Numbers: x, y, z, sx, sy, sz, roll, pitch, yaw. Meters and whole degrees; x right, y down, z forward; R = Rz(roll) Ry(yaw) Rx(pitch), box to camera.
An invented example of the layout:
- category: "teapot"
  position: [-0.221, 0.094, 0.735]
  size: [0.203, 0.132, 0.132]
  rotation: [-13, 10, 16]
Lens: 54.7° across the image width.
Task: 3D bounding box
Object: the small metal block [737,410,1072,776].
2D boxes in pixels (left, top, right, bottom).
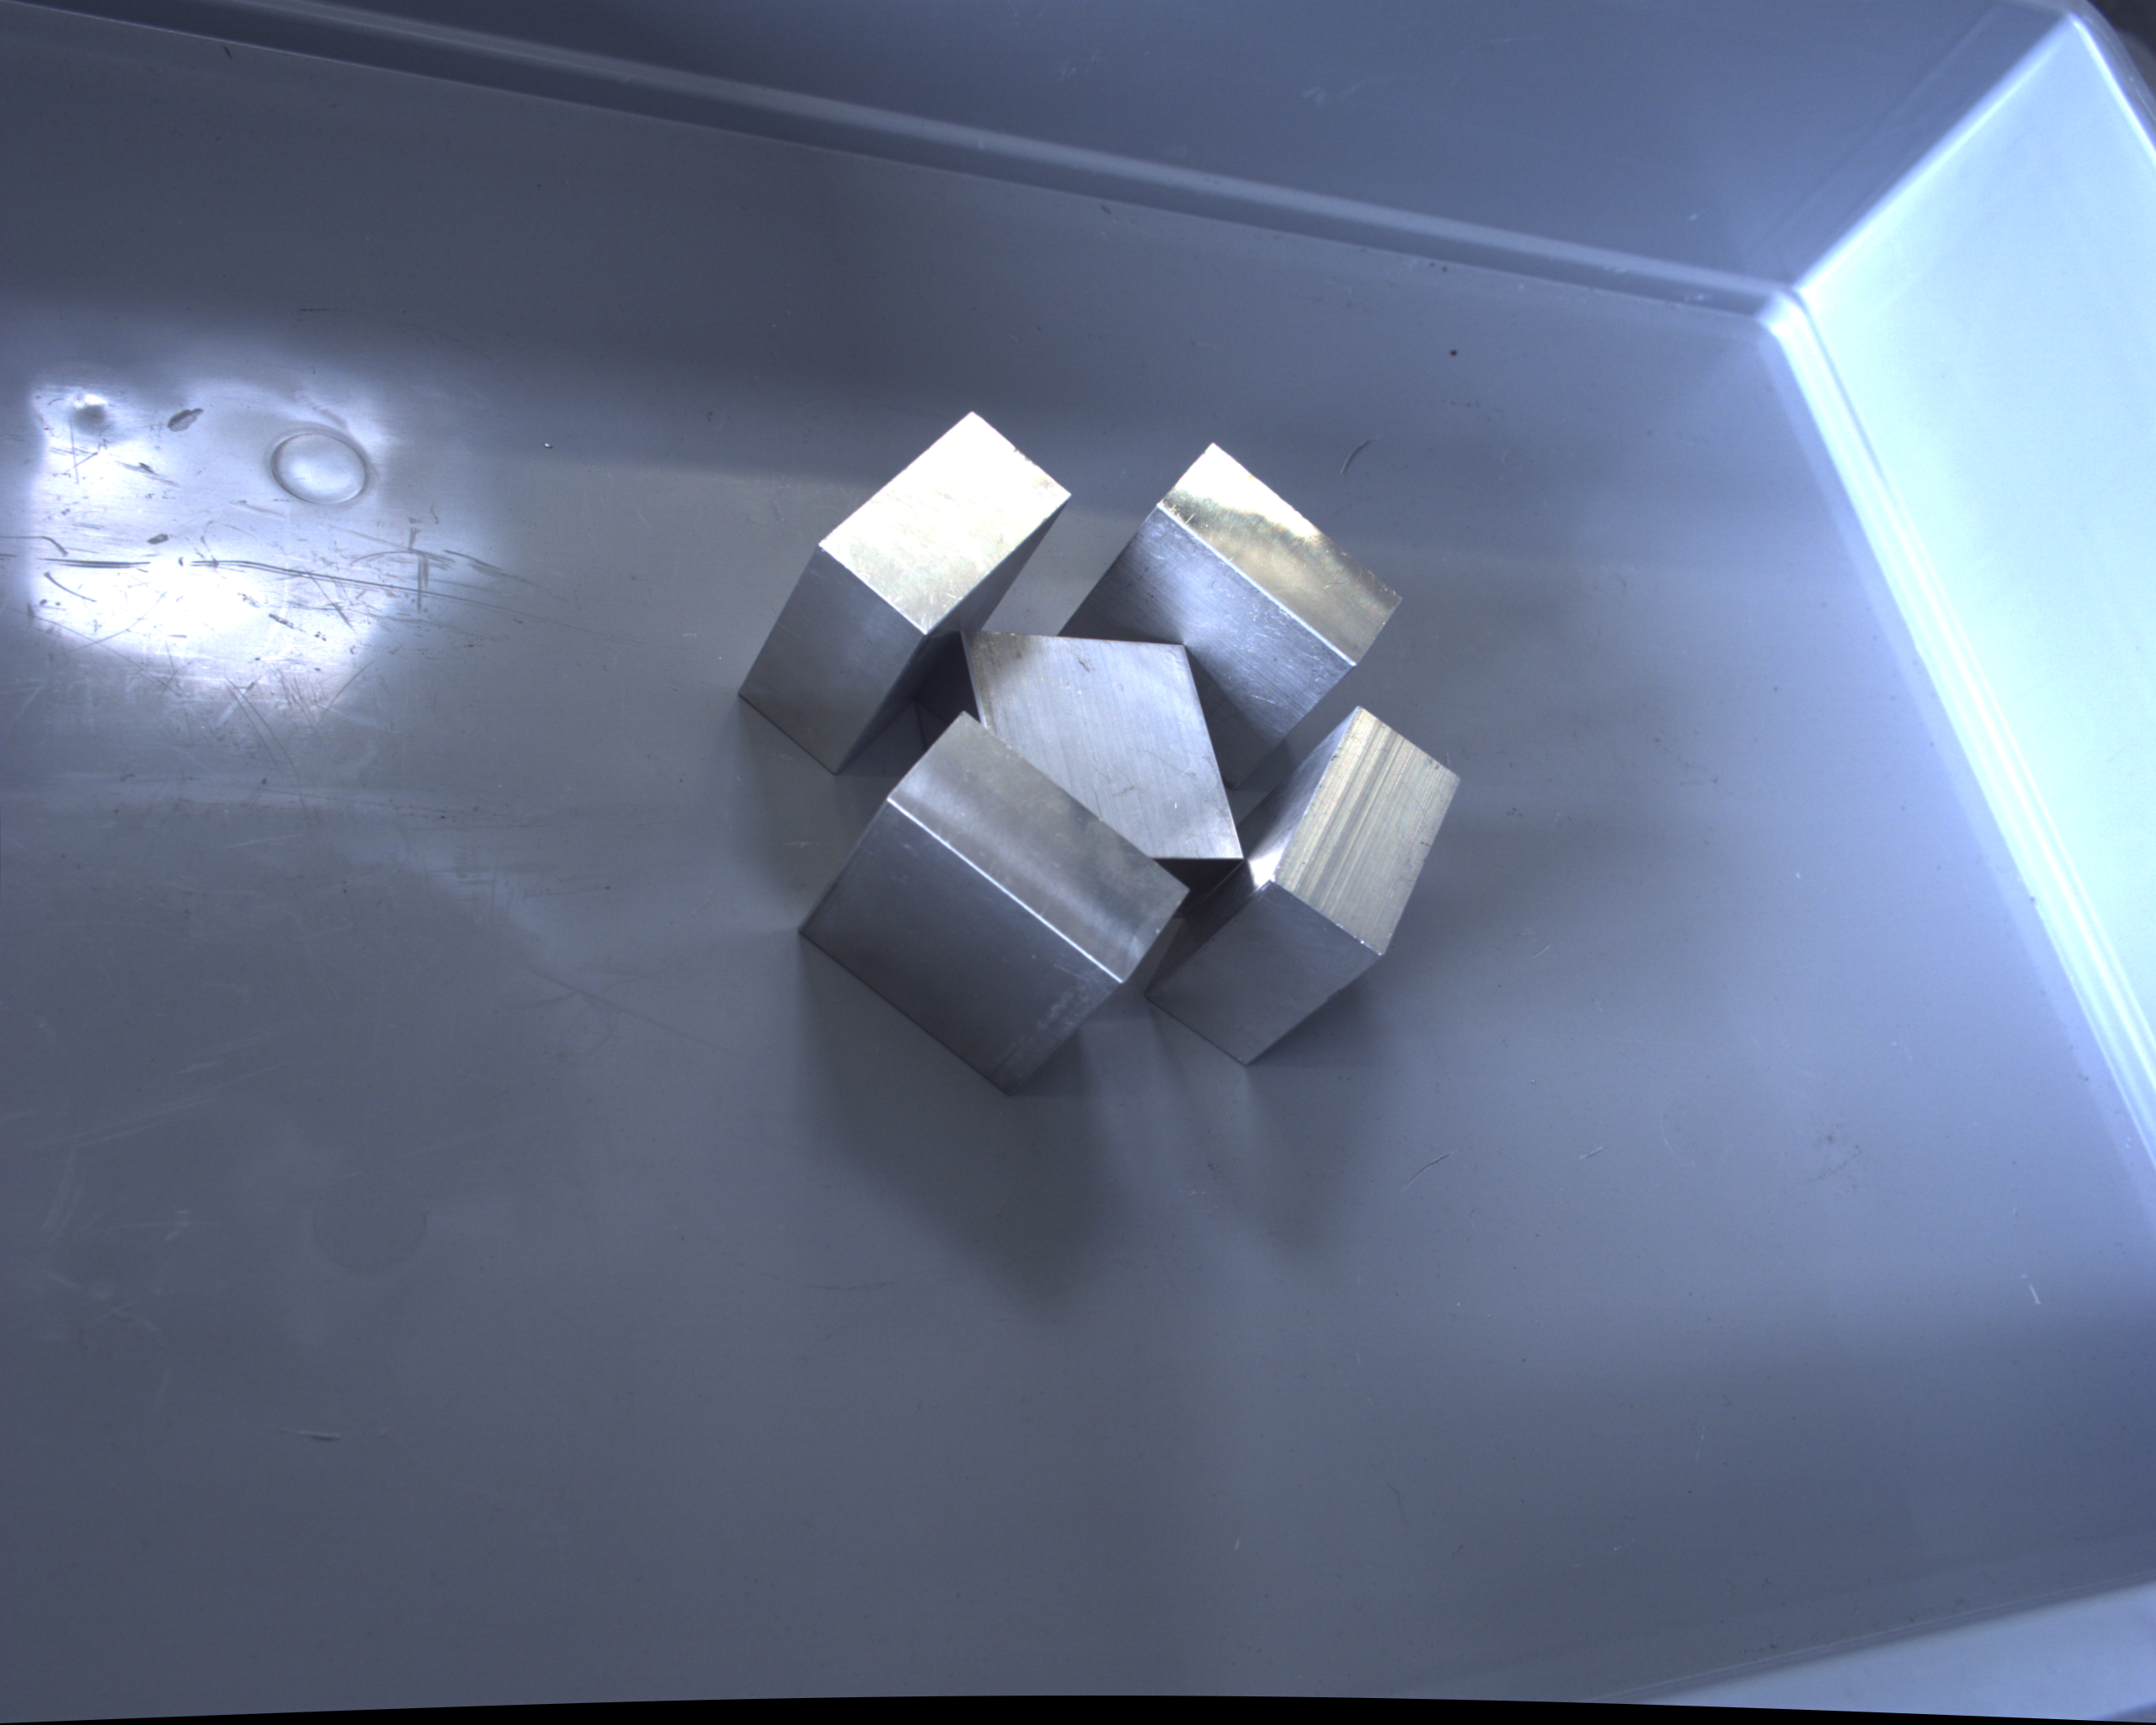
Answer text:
- category: "small metal block"
  position: [-0.034, -0.051, 0.400]
  size: [0.025, 0.050, 0.050]
  rotation: [41, 52, 0]

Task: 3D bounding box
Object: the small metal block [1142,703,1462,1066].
- category: "small metal block"
  position: [0.044, 0.005, 0.407]
  size: [0.025, 0.050, 0.050]
  rotation: [36, 50, -6]

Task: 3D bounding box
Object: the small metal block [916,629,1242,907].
- category: "small metal block"
  position: [0.000, -0.017, 0.413]
  size: [0.050, 0.025, 0.050]
  rotation: [1, 61, -28]

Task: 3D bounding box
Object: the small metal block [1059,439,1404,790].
- category: "small metal block"
  position: [0.030, -0.051, 0.433]
  size: [0.050, 0.050, 0.025]
  rotation: [39, 50, -3]

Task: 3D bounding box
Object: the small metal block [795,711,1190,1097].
- category: "small metal block"
  position: [-0.016, 0.009, 0.373]
  size: [0.050, 0.050, 0.025]
  rotation: [39, 52, -2]
